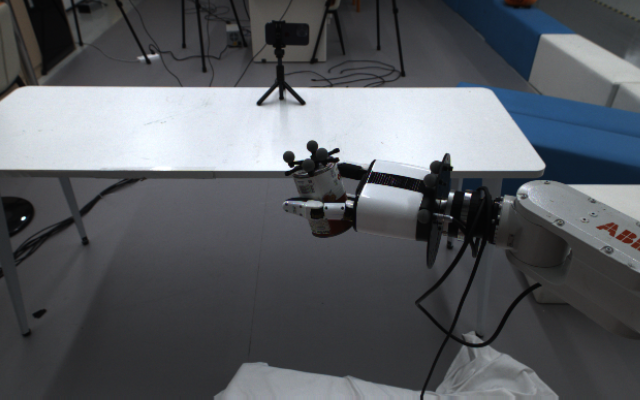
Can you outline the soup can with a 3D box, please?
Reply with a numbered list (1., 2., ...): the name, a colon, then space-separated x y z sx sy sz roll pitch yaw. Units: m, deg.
1. soup can: 0.007 -0.004 0.707 0.067 0.101 0.067 -16 23 7
